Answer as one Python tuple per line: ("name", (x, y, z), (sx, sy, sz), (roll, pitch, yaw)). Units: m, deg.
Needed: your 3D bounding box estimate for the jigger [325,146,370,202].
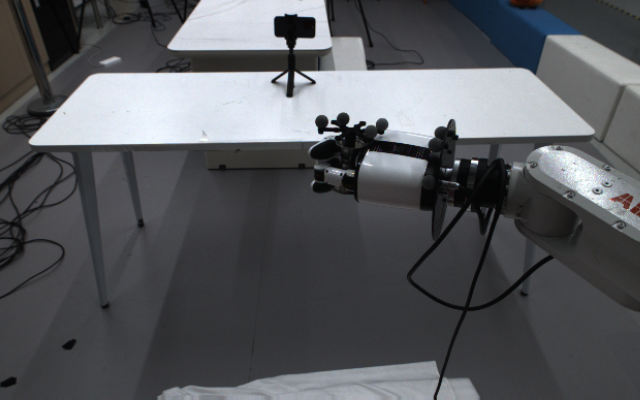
("jigger", (0.043, -0.048, 0.673), (0.043, 0.071, 0.043), (3, 25, -1))
